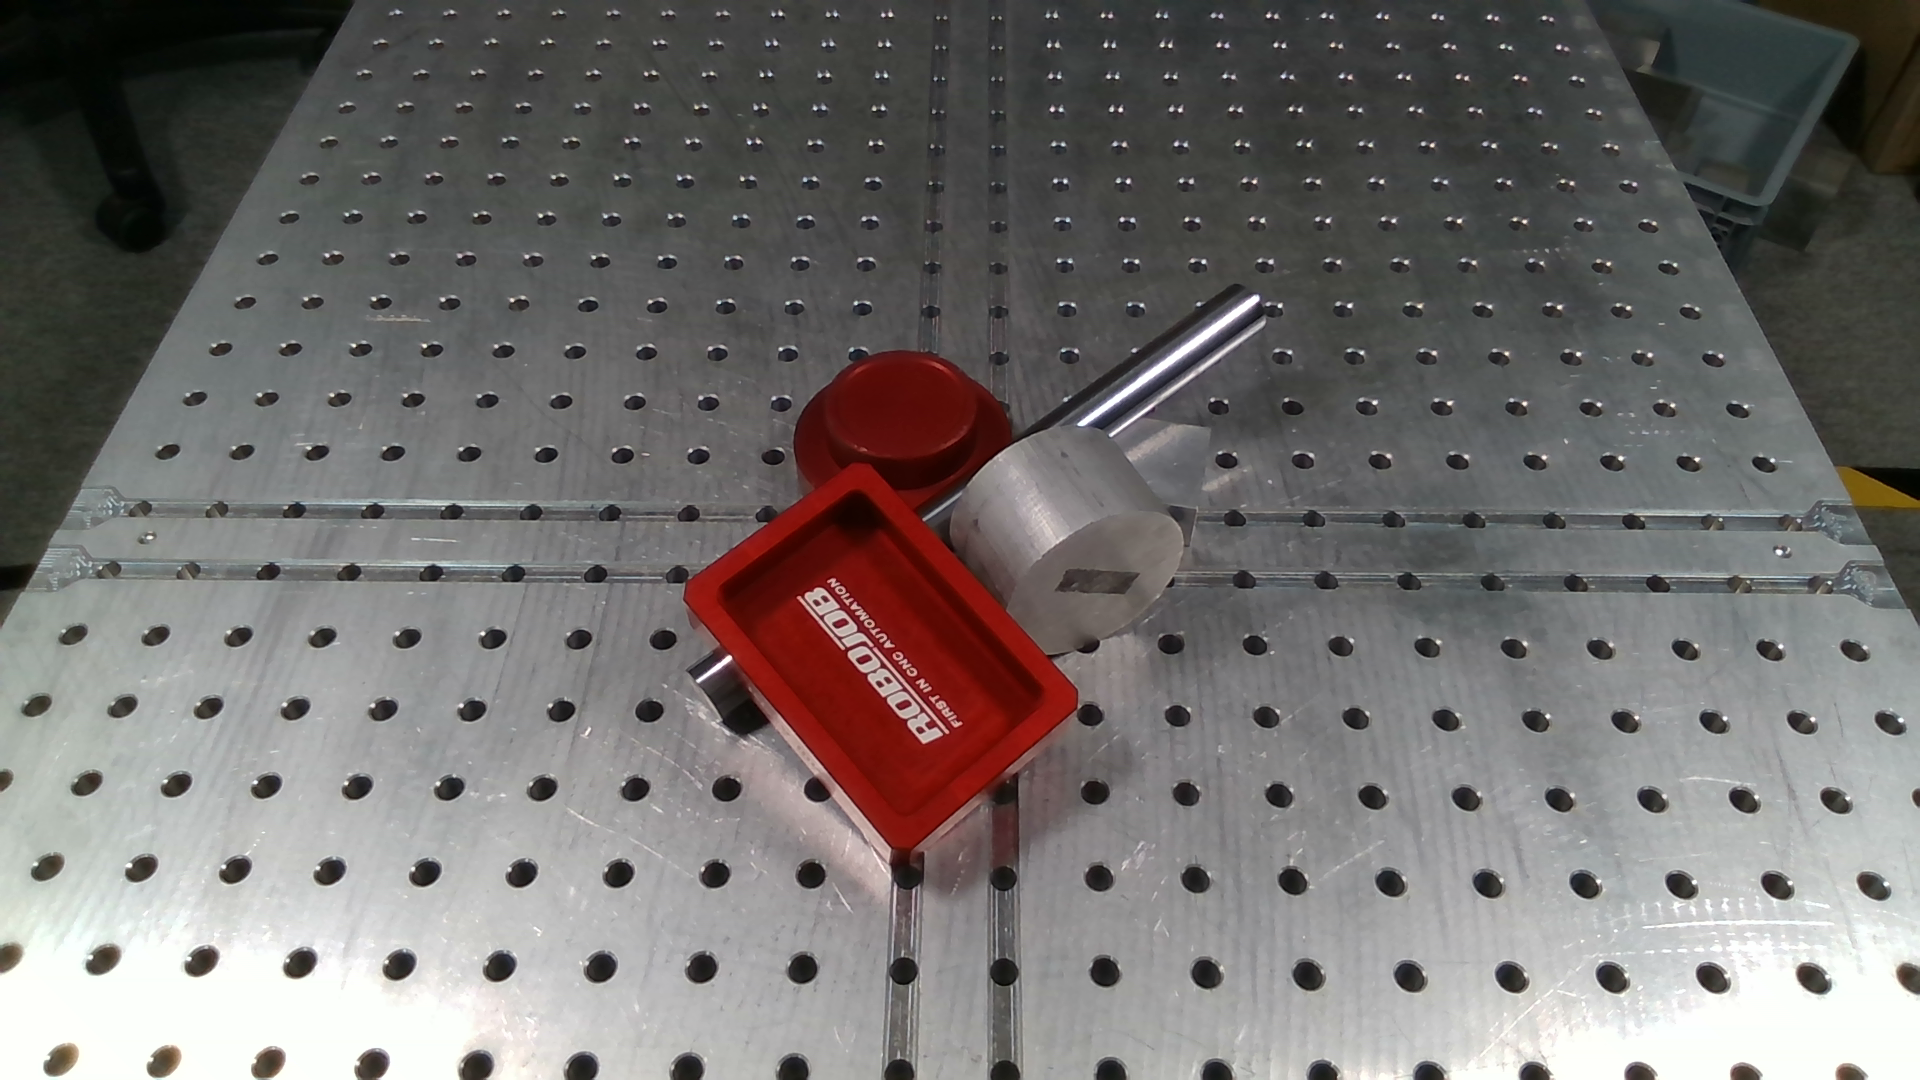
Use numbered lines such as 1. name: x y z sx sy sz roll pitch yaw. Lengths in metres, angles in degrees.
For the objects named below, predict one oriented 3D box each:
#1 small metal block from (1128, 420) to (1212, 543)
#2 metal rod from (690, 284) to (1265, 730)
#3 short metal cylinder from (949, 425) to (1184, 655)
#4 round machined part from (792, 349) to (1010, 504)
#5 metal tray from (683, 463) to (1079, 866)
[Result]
1. small metal block: 0.083 -0.027 0.613 0.050 0.025 0.050 10 51 8
2. metal rod: 0.016 -0.021 0.586 0.300 0.025 0.025 -37 59 -17
3. short metal cylinder: 0.042 0.001 0.553 0.080 0.080 0.050 -20 53 -16
4. round machined part: -0.026 -0.048 0.618 0.098 0.042 0.098 0 50 0
5. metal tray: -0.030 0.045 0.522 0.090 0.030 0.130 -38 75 -18
